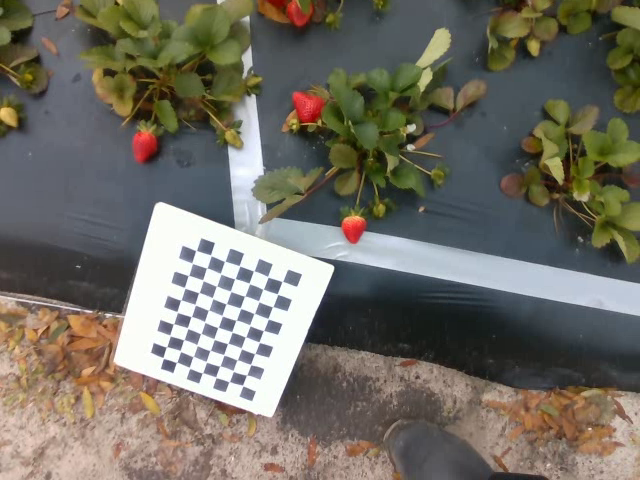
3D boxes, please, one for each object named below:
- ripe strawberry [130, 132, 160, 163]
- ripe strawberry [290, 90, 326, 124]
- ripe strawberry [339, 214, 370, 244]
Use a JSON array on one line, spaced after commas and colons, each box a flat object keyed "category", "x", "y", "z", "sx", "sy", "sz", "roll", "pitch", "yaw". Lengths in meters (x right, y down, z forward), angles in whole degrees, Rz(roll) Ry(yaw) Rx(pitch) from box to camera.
[{"category": "ripe strawberry", "x": -0.224, "y": -0.119, "z": 0.956, "sx": 0.036, "sy": 0.046, "sz": 0.040, "roll": 11, "pitch": -21, "yaw": 8}, {"category": "ripe strawberry", "x": -0.016, "y": -0.189, "z": 1.014, "sx": 0.043, "sy": 0.062, "sz": 0.043, "roll": -45, "pitch": 8, "yaw": 25}, {"category": "ripe strawberry", "x": 0.056, "y": -0.015, "z": 1.029, "sx": 0.039, "sy": 0.047, "sz": 0.041, "roll": -9, "pitch": 16, "yaw": 16}]
